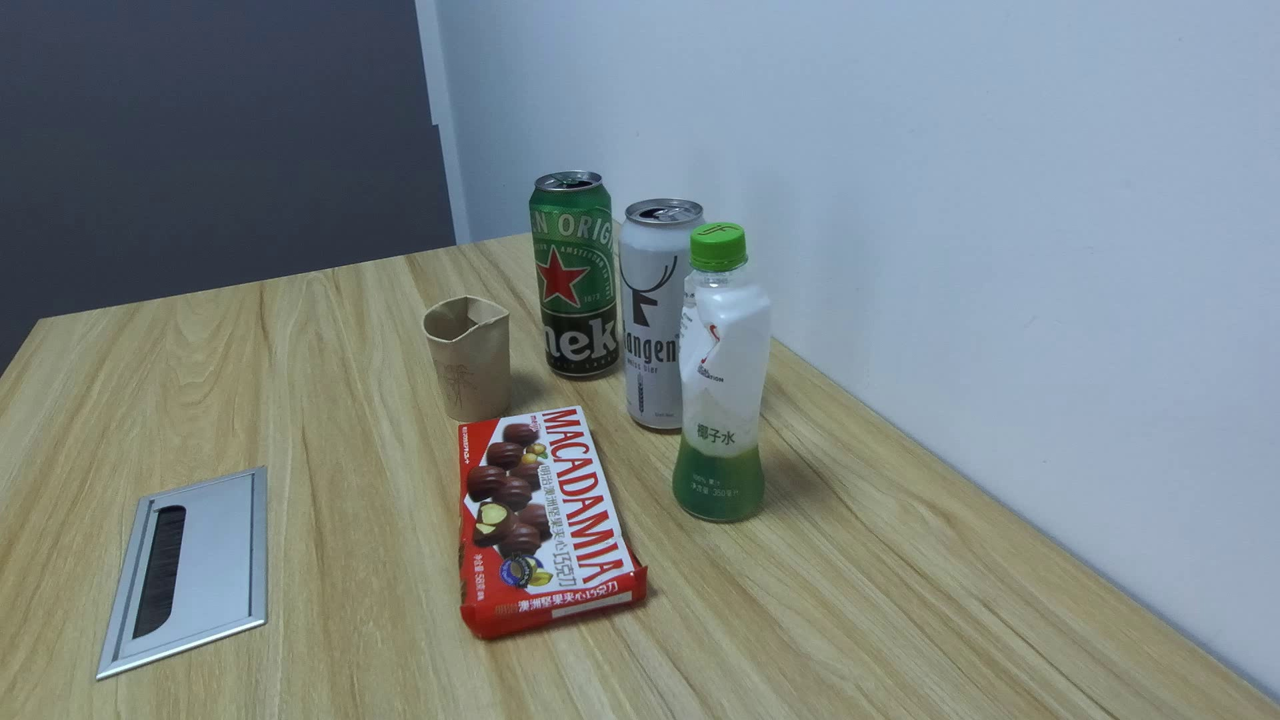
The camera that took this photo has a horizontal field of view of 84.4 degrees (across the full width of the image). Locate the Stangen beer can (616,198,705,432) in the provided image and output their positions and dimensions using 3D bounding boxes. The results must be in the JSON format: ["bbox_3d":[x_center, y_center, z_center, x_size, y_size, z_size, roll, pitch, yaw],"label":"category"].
[{"bbox_3d":[0.020,-0.031,0.530,0.067,0.171,0.067,-1,30,1],"label":"Stangen beer can"}]

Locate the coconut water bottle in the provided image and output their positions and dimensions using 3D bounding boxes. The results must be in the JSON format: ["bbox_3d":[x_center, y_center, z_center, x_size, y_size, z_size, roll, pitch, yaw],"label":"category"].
[{"bbox_3d":[0.050,0.009,0.435,0.069,0.187,0.069,-2,30,1],"label":"coconut water bottle"}]

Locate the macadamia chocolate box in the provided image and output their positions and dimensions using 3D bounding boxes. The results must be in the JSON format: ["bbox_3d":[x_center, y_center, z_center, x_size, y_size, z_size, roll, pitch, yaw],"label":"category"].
[{"bbox_3d":[-0.067,0.095,0.464,0.106,0.028,0.182,-9,32,-12],"label":"macadamia chocolate box"}]

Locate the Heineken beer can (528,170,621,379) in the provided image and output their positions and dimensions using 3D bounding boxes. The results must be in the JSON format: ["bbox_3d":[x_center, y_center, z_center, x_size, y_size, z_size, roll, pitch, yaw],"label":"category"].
[{"bbox_3d":[-0.052,-0.069,0.602,0.067,0.169,0.067,-2,27,1],"label":"Heineken beer can"}]

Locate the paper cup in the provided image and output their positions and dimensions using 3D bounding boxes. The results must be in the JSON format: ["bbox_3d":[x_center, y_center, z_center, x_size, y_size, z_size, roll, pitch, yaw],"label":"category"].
[{"bbox_3d":[-0.139,0.001,0.572,0.066,0.084,0.072,24,37,39],"label":"paper cup"}]
